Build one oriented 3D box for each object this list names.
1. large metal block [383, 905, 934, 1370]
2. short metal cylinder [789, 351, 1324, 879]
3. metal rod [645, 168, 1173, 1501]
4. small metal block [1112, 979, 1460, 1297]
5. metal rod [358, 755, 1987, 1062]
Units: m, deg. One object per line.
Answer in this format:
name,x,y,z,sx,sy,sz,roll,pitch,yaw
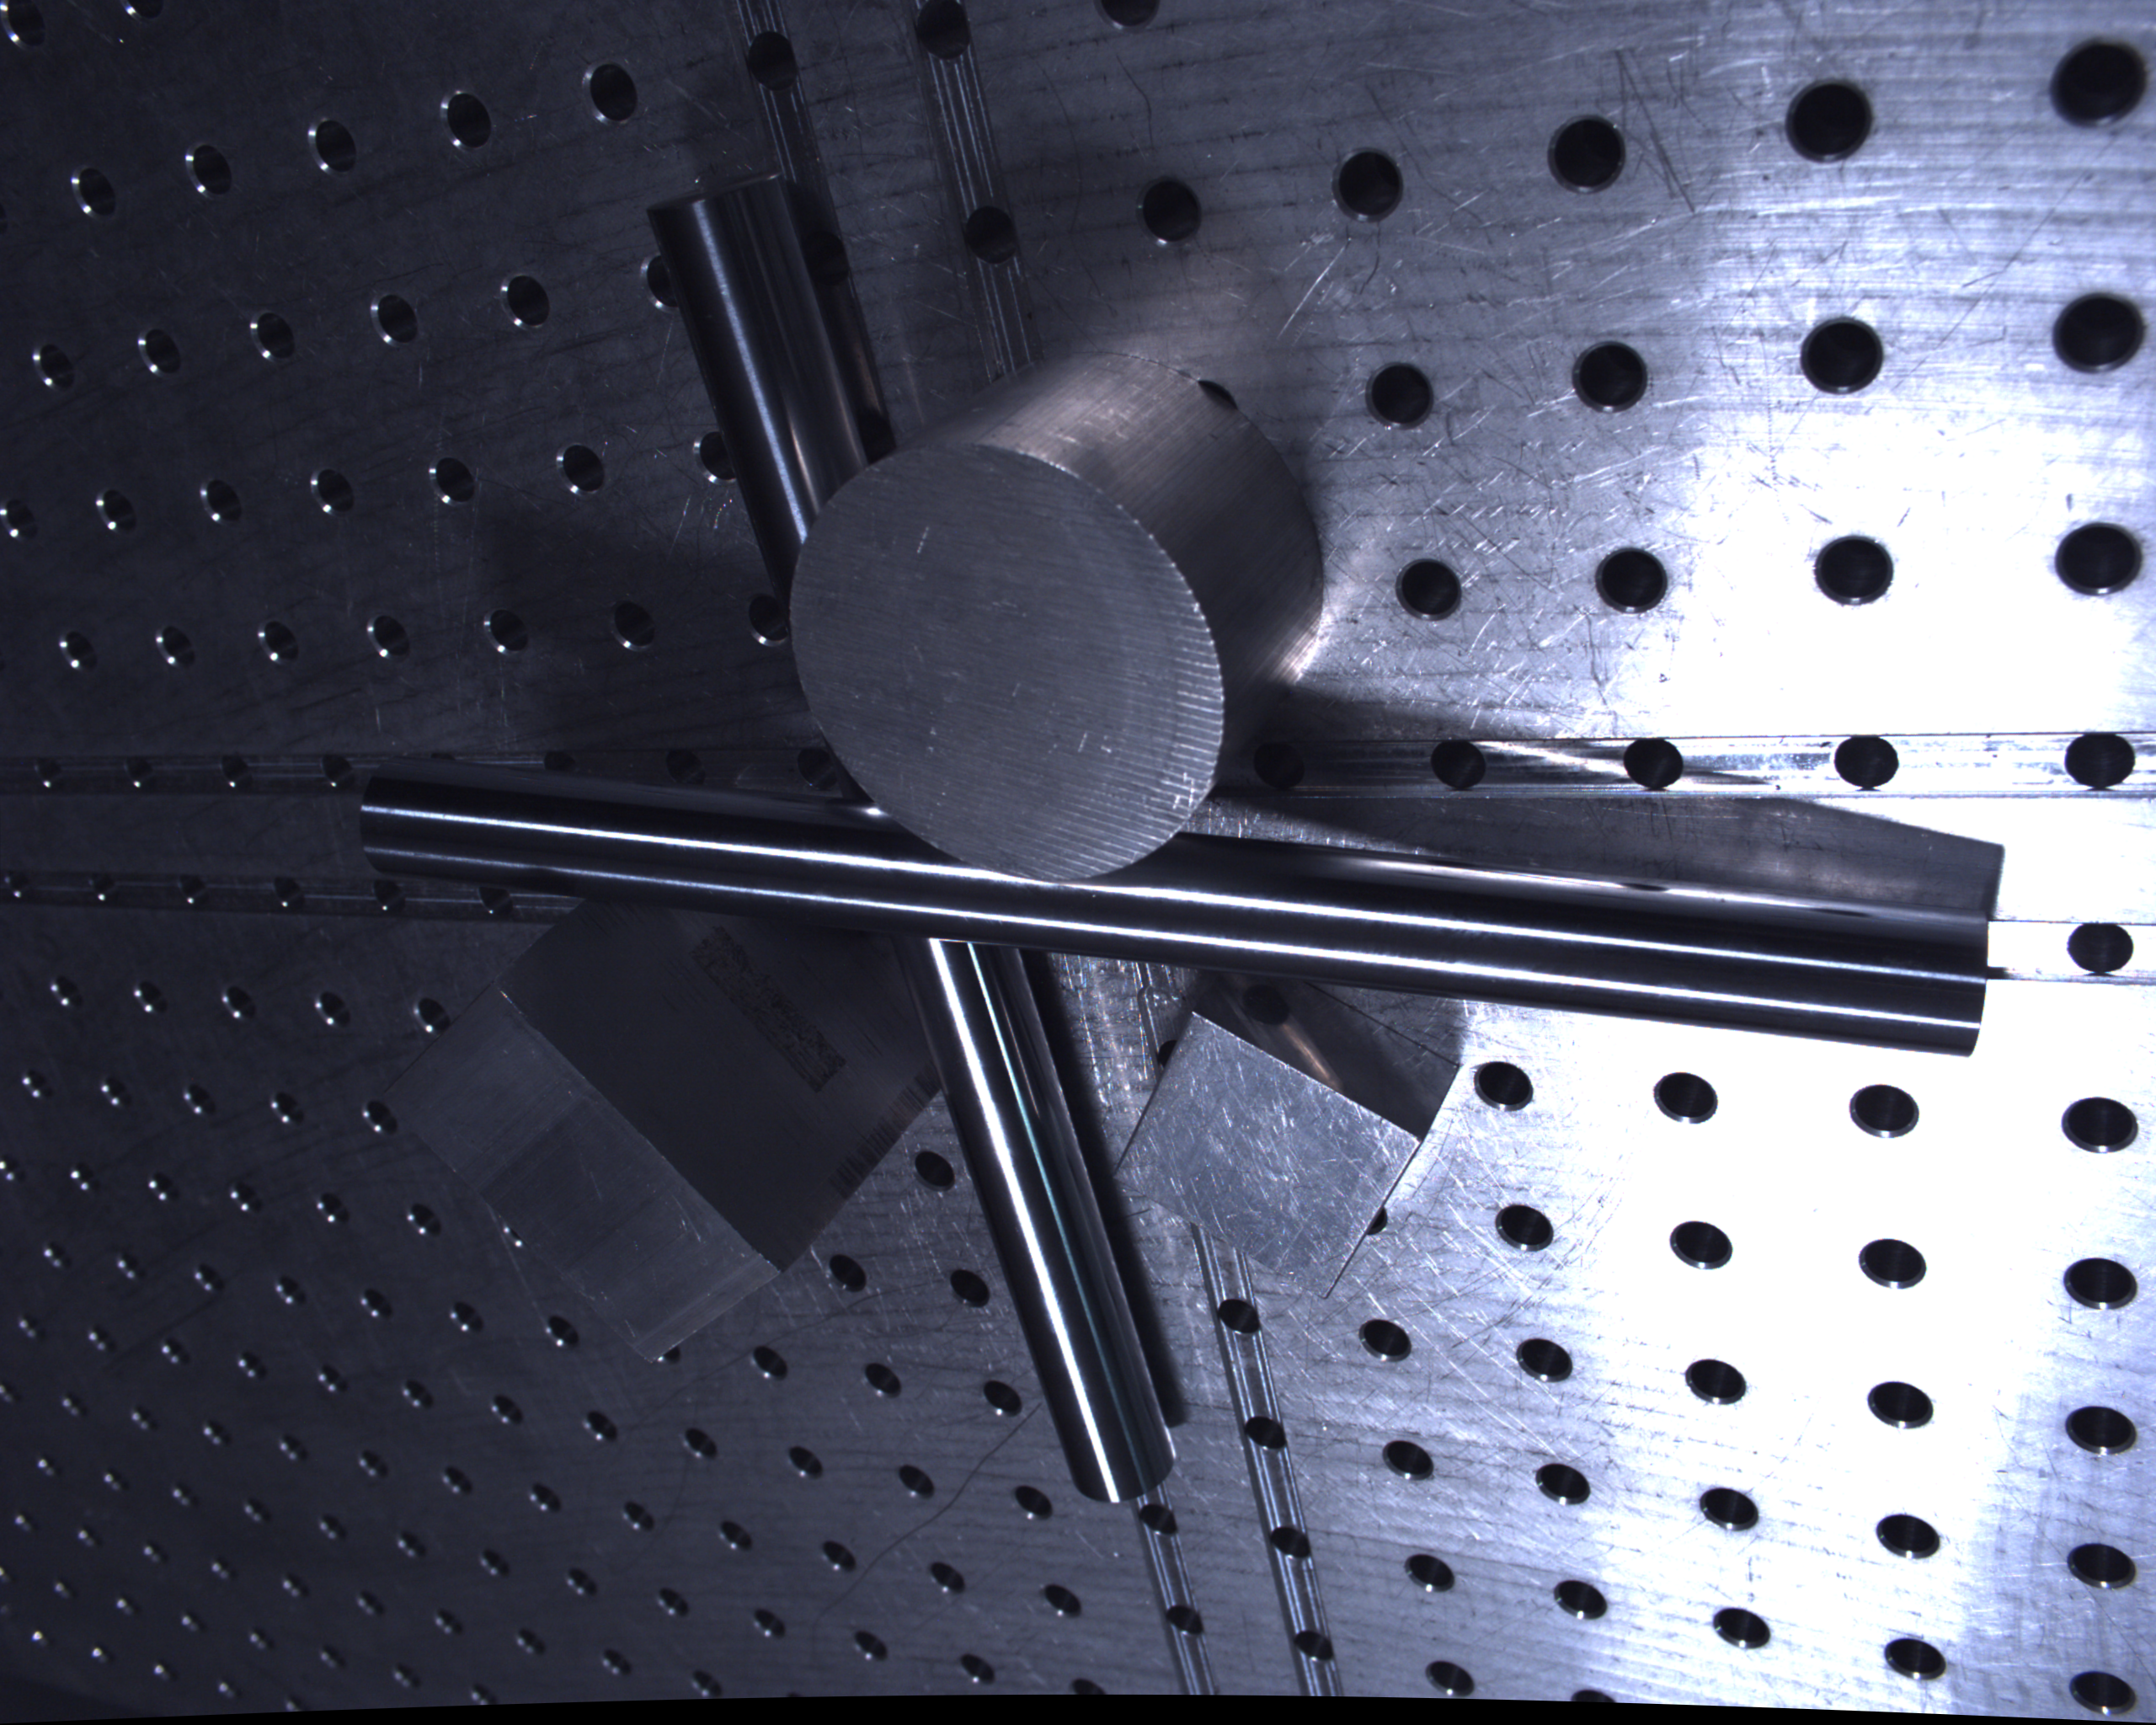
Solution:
large metal block,-0.082,0.045,0.443,0.080,0.080,0.050,46,129,-5
short metal cylinder,-0.003,-0.044,0.368,0.080,0.050,0.079,13,124,20
metal rod,-0.027,0.011,0.431,0.025,0.025,0.298,-2,118,29
small metal block,0.041,0.052,0.421,0.050,0.025,0.050,29,128,9
metal rod,0.005,0.006,0.387,0.301,0.025,0.025,6,121,16
